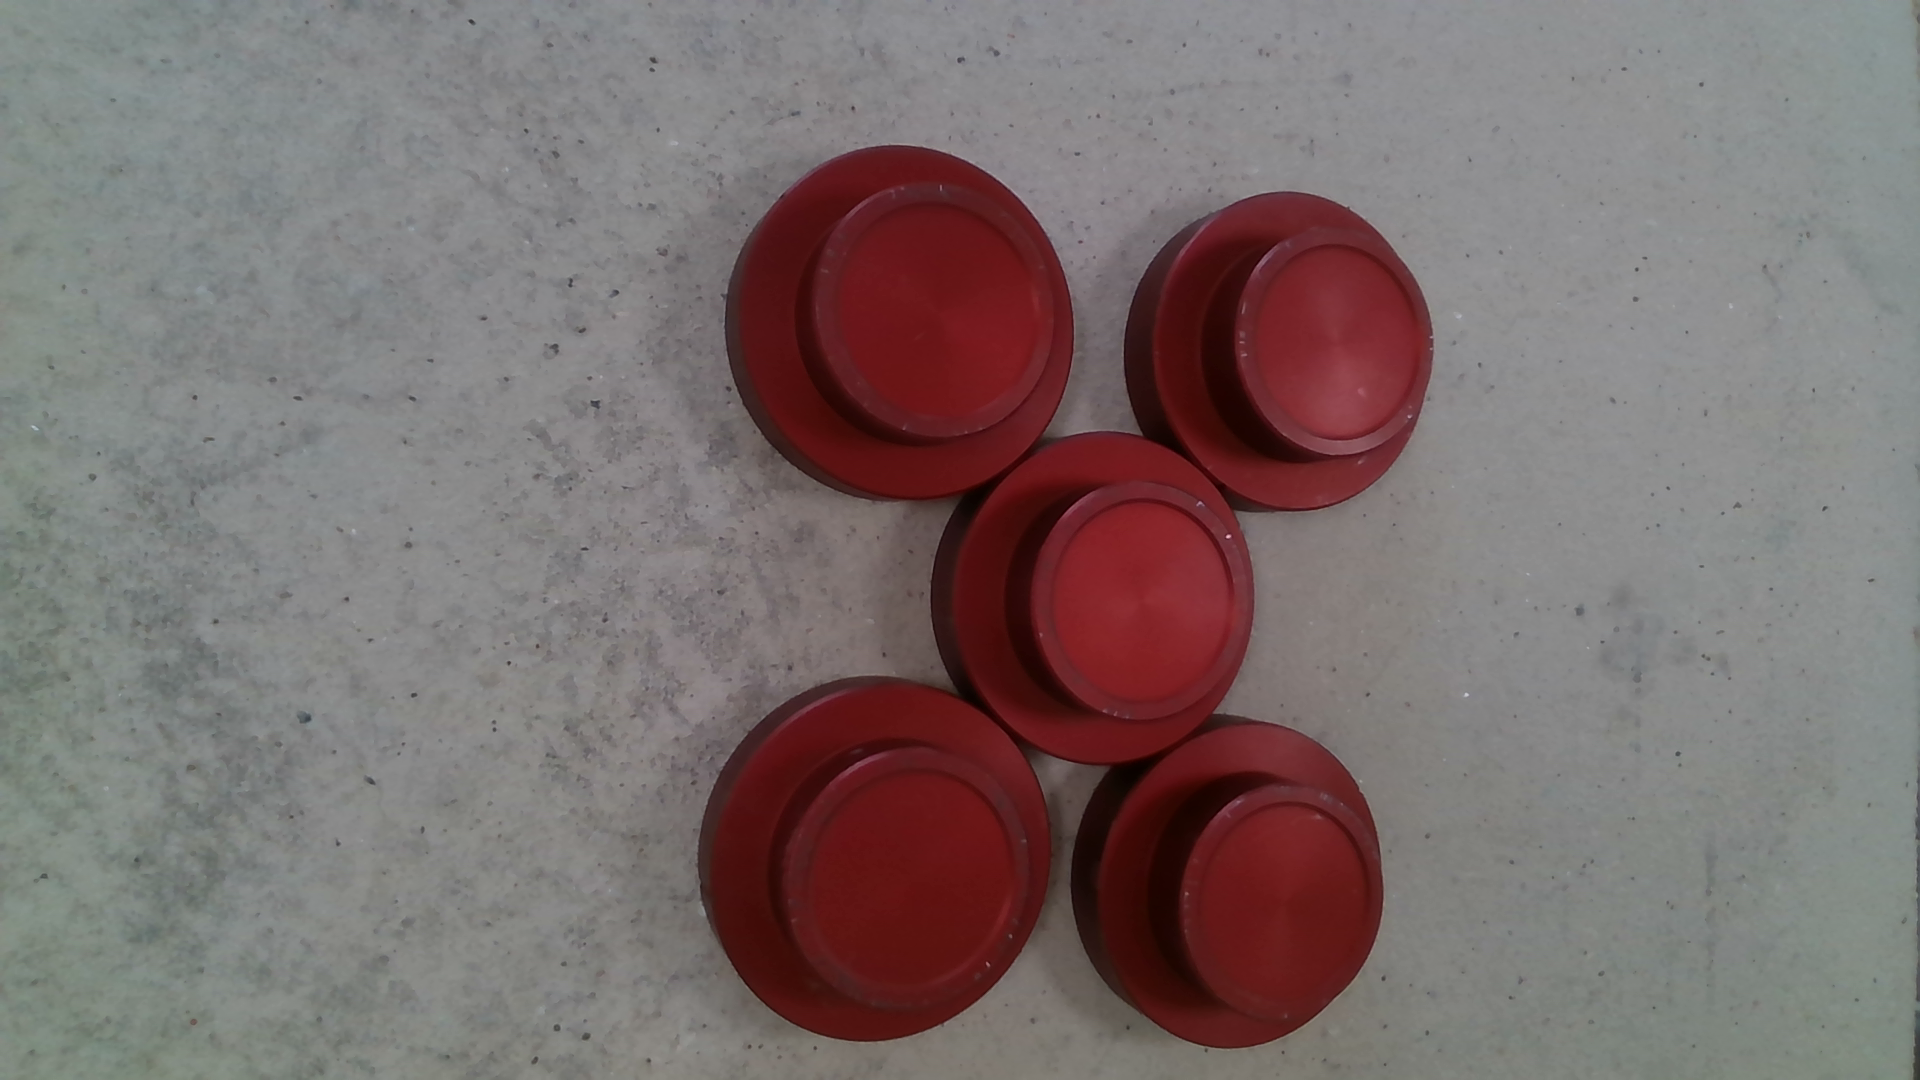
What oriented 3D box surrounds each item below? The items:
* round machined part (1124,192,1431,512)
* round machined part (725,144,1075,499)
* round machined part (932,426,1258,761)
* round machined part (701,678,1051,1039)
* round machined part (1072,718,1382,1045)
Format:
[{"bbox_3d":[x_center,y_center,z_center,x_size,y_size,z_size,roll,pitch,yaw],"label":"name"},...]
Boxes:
[{"bbox_3d":[0.103,-0.058,0.423,0.098,0.042,0.098,0,90,-20],"label":"round machined part"},{"bbox_3d":[-0.013,-0.060,0.380,0.098,0.042,0.098,0,90,-19],"label":"round machined part"},{"bbox_3d":[0.044,0.016,0.401,0.098,0.042,0.098,0,89,-19],"label":"round machined part"},{"bbox_3d":[-0.020,0.088,0.378,0.098,0.042,0.098,0,89,-19],"label":"round machined part"},{"bbox_3d":[0.087,0.104,0.417,0.098,0.042,0.098,0,89,-19],"label":"round machined part"}]
